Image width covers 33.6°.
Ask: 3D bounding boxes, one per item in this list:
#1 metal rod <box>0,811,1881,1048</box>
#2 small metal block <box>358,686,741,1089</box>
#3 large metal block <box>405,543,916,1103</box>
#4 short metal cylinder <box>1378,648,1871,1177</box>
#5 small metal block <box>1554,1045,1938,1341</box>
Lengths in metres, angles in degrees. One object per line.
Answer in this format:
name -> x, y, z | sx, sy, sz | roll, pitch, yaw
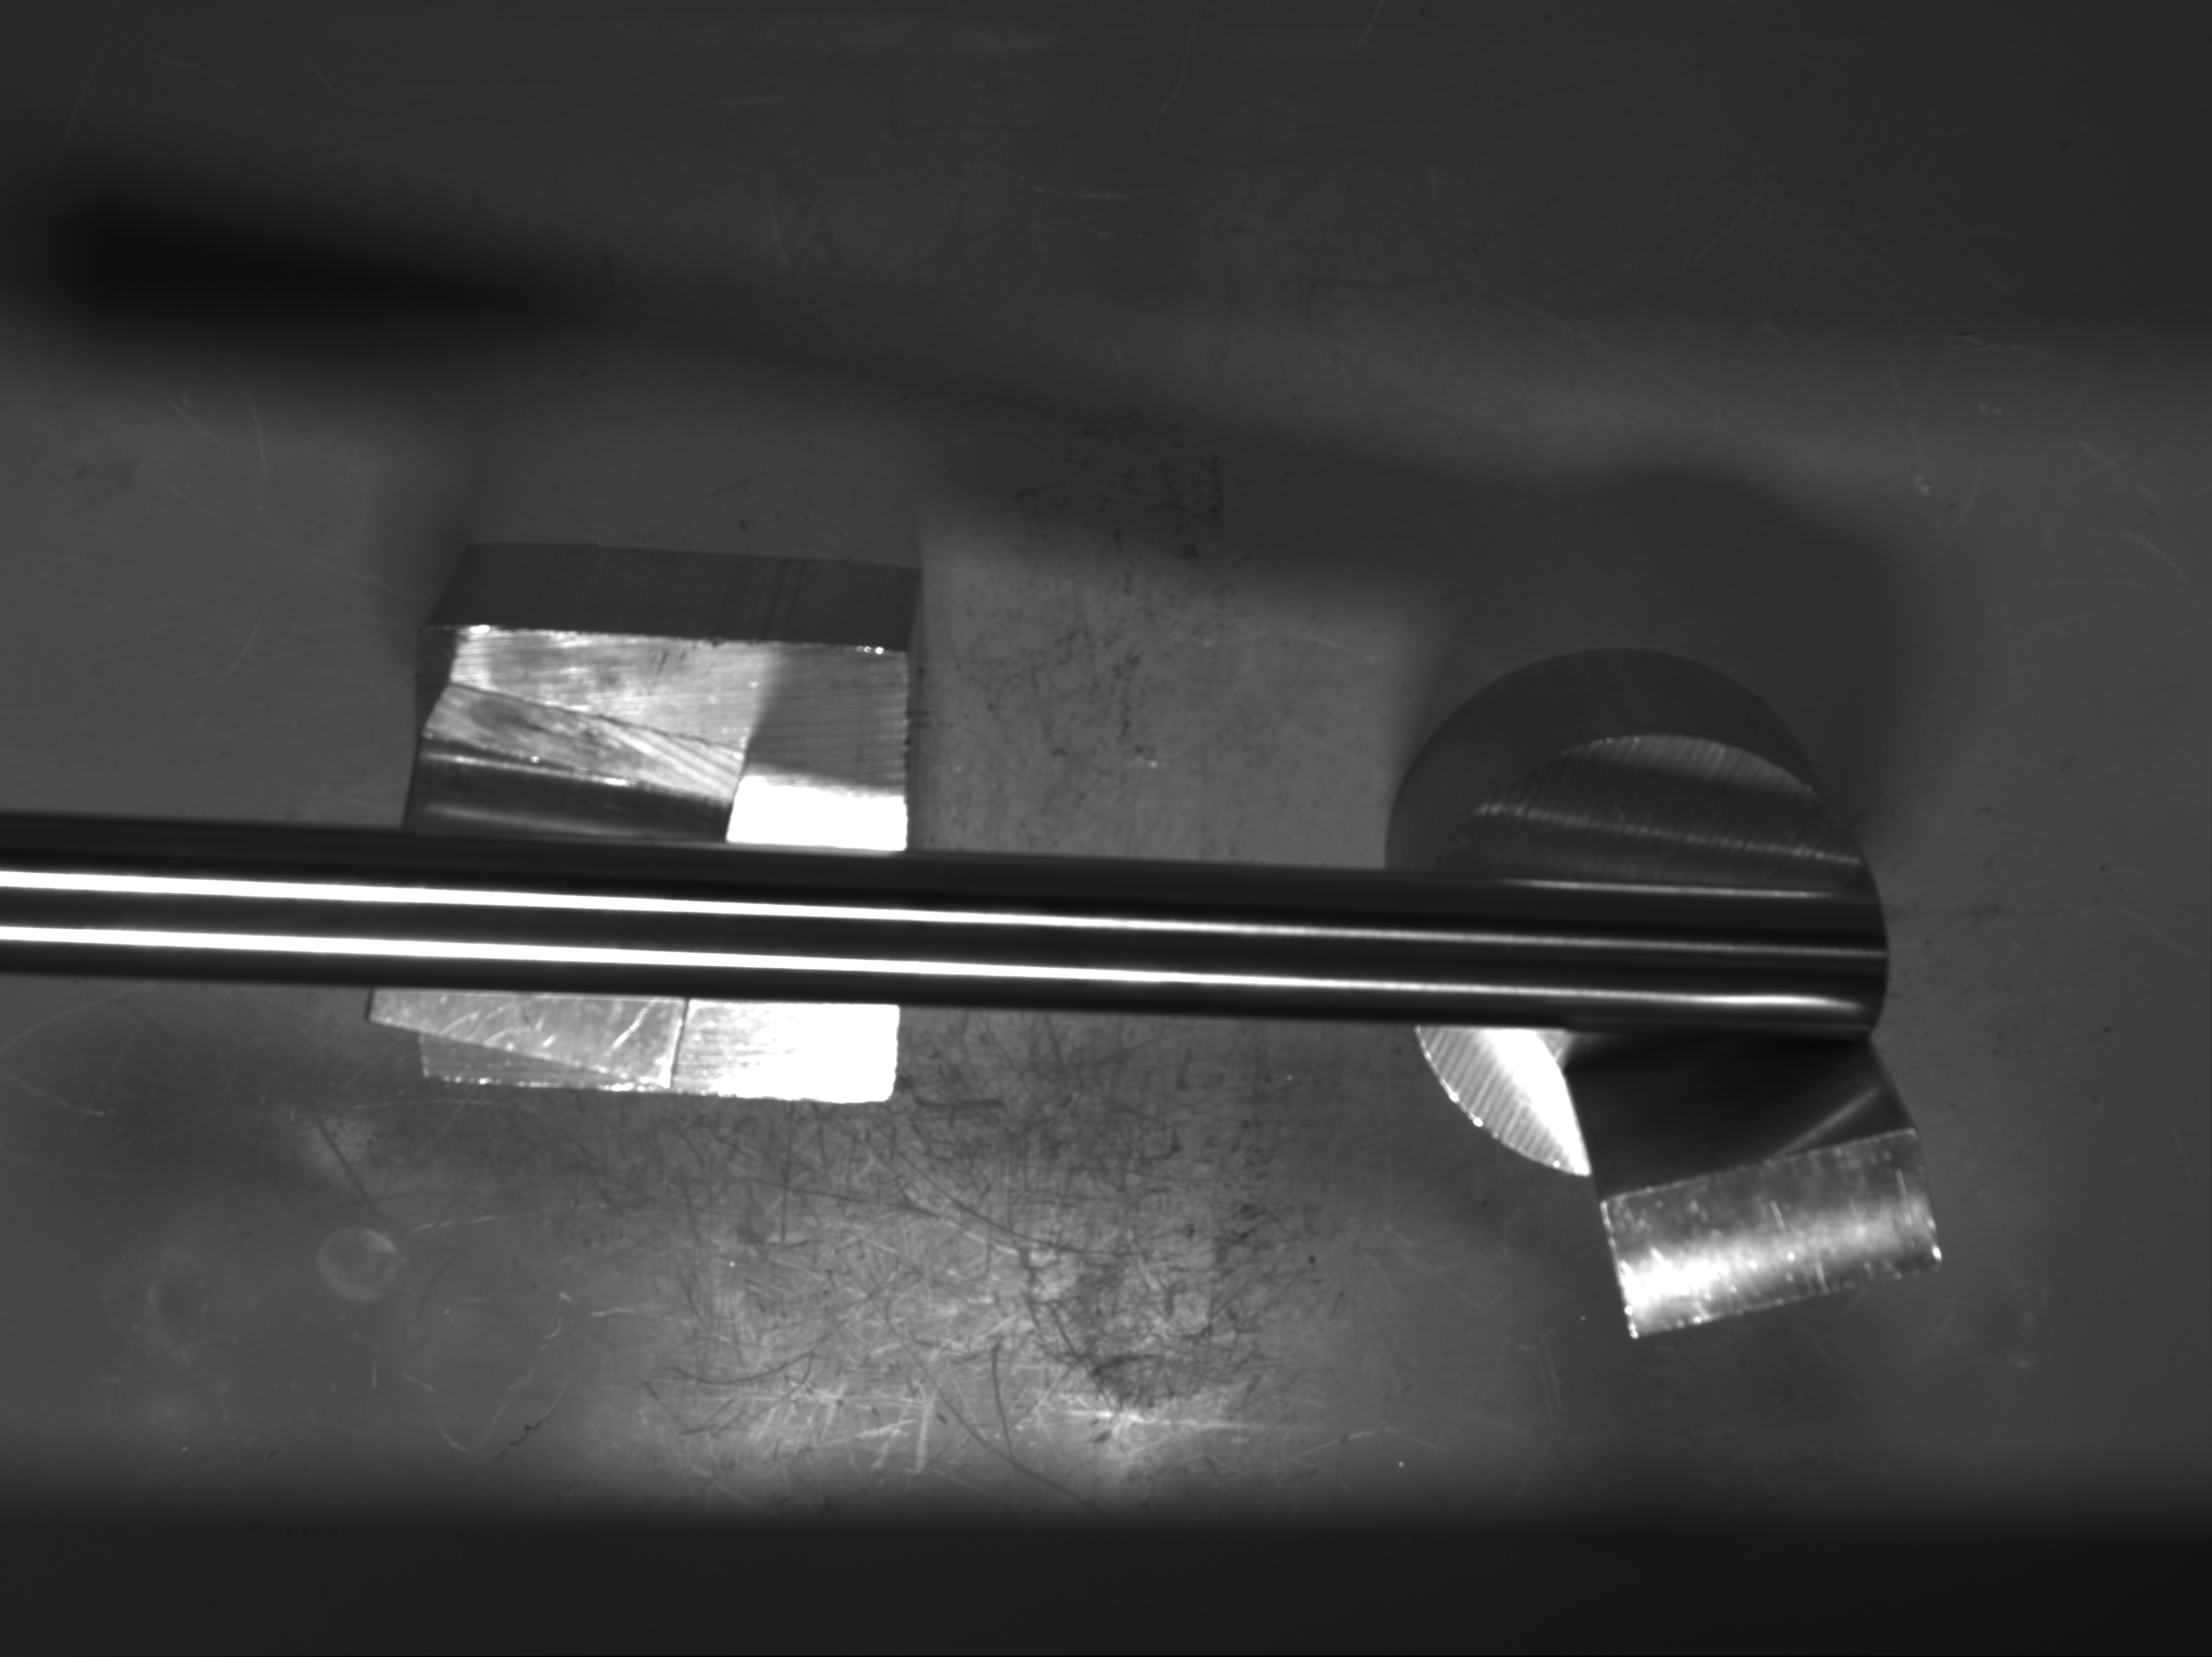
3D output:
metal rod -> -0.026, 0.016, 0.573 | 0.300, 0.025, 0.025 | 3, 110, -10
small metal block -> -0.089, 0.009, 0.591 | 0.050, 0.025, 0.050 | 12, 109, -5
large metal block -> -0.075, -0.002, 0.626 | 0.080, 0.050, 0.080 | 3, 110, -2
short metal cylinder -> 0.089, 0.014, 0.635 | 0.080, 0.050, 0.080 | 0, 110, -1
small metal block -> 0.103, 0.055, 0.596 | 0.050, 0.050, 0.025 | -14, 109, 4
